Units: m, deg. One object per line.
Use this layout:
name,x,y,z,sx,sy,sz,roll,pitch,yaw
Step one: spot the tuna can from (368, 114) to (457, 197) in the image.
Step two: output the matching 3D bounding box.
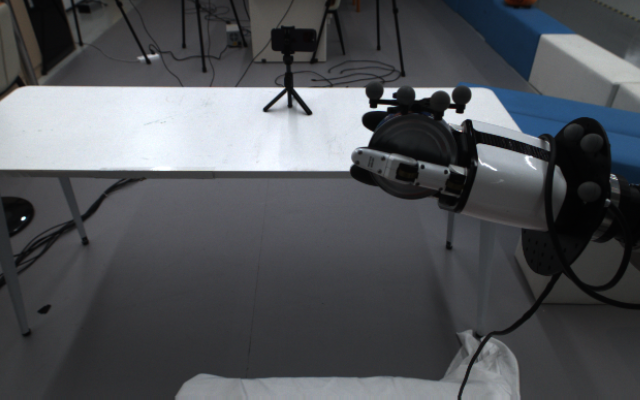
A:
tuna can,0.092,-0.048,0.477,0.085,0.085,0.034,9,24,10
